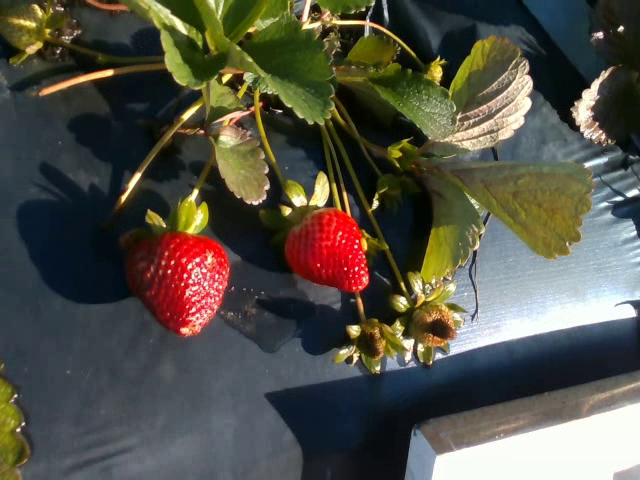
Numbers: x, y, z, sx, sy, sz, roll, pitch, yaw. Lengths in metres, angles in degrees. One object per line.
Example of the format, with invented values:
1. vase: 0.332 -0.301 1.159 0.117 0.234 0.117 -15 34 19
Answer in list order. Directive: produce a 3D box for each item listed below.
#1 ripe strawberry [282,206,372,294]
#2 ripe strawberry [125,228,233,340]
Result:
1. ripe strawberry: 0.006 0.007 0.292 0.049 0.042 0.039 50 7 28
2. ripe strawberry: -0.060 0.021 0.265 0.050 0.050 0.045 10 -45 -29
